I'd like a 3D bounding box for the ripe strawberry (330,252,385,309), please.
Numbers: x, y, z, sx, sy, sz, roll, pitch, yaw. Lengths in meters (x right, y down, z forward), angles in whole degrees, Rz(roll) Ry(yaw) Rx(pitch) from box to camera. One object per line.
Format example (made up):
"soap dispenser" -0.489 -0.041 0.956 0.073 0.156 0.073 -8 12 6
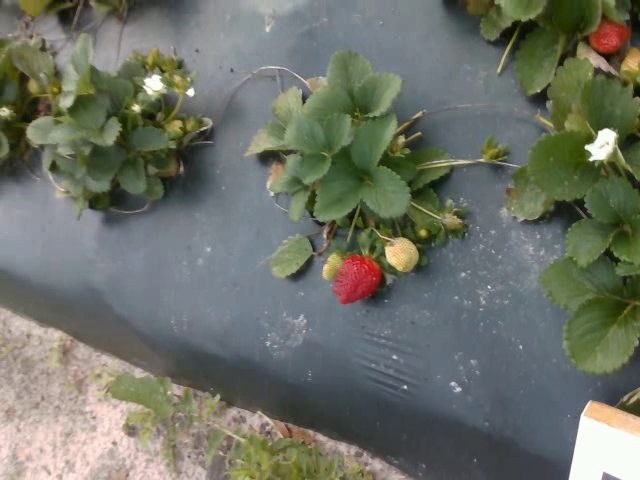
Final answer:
"ripe strawberry" 0.033 0.043 0.586 0.046 0.059 0.046 13 -36 39
